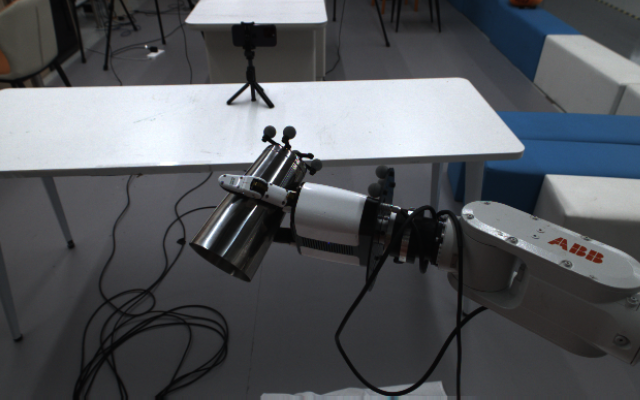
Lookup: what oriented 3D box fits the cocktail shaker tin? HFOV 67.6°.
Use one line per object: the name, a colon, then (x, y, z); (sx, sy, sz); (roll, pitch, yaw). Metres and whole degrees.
cocktail shaker tin: (-0.085, 0.007, 0.641); (0.093, 0.093, 0.170); (20, 67, 24)
